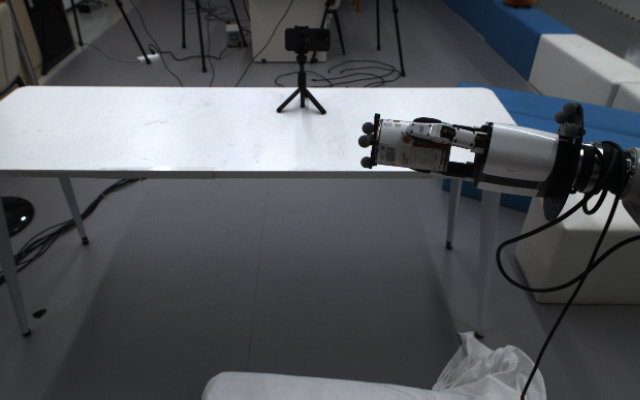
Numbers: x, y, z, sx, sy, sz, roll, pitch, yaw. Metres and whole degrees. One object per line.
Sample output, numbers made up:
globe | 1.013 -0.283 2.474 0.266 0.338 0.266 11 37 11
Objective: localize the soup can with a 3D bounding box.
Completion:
soup can | 0.135 -0.080 0.695 0.101 0.067 0.067 7 35 10
